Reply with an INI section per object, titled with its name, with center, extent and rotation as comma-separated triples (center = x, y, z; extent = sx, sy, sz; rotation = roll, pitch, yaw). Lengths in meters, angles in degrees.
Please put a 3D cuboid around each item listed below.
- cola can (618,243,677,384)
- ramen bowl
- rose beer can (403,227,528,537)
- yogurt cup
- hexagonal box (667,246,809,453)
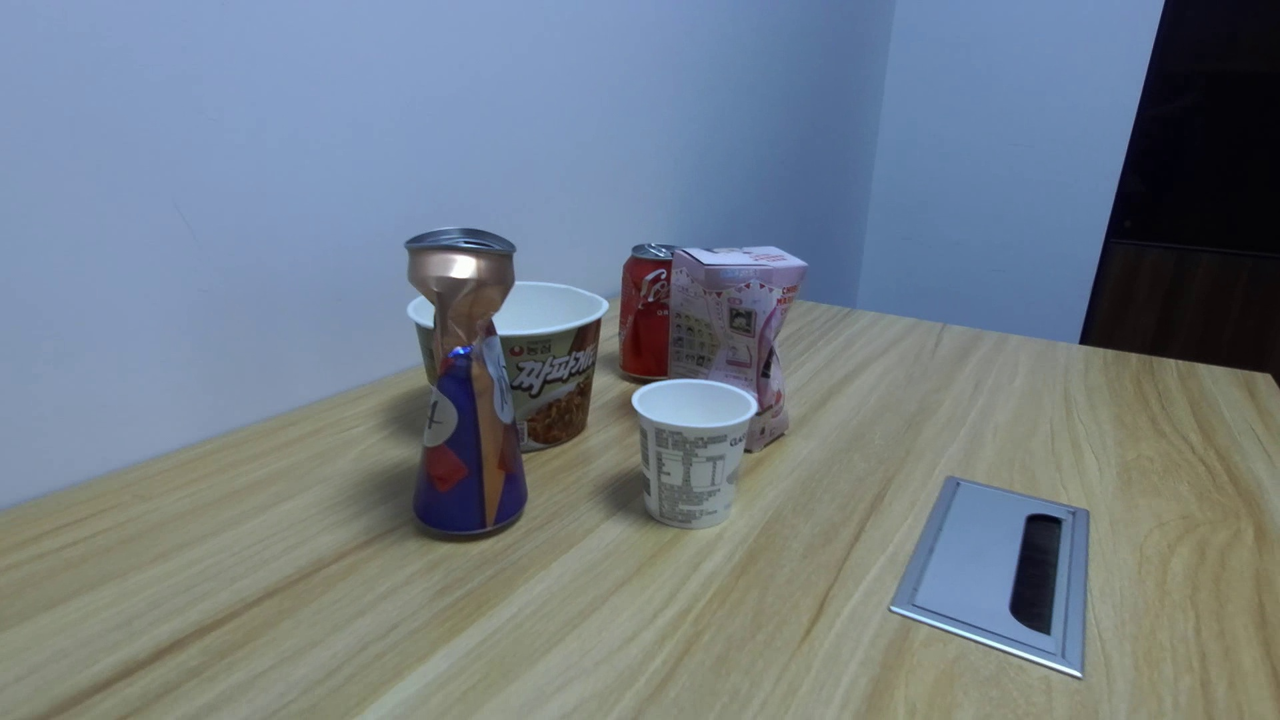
[cola can]
center = 0.016, -0.041, 0.616
extent = 0.067, 0.117, 0.065
rotation = -9, 22, -32
[ramen bowl]
center = -0.093, 0.003, 0.520
extent = 0.140, 0.095, 0.140
rotation = 2, 20, 0
[rose beer can]
center = -0.096, 0.014, 0.386
extent = 0.073, 0.162, 0.068
rotation = 20, 26, 38
[yogurt cup]
center = 0.030, 0.055, 0.410
extent = 0.072, 0.068, 0.072
rotation = 1, 20, 0
[hexagonal box]
center = 0.065, -0.009, 0.502
extent = 0.093, 0.134, 0.089
rotation = 4, 19, 4
